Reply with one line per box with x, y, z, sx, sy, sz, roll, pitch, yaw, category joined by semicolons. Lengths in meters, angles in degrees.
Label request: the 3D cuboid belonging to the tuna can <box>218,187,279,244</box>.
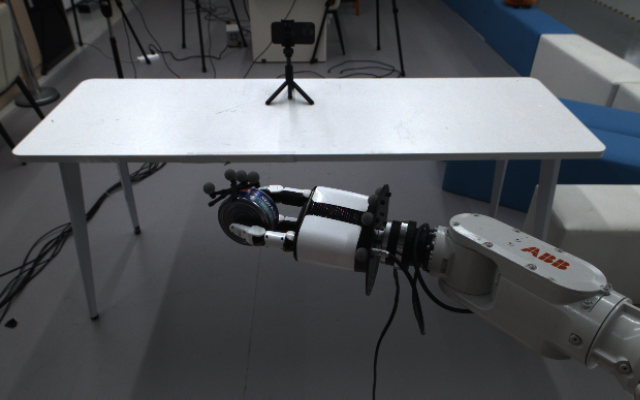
-0.103;0.031;0.713;0.085;0.085;0.034;11;34;13;tuna can
